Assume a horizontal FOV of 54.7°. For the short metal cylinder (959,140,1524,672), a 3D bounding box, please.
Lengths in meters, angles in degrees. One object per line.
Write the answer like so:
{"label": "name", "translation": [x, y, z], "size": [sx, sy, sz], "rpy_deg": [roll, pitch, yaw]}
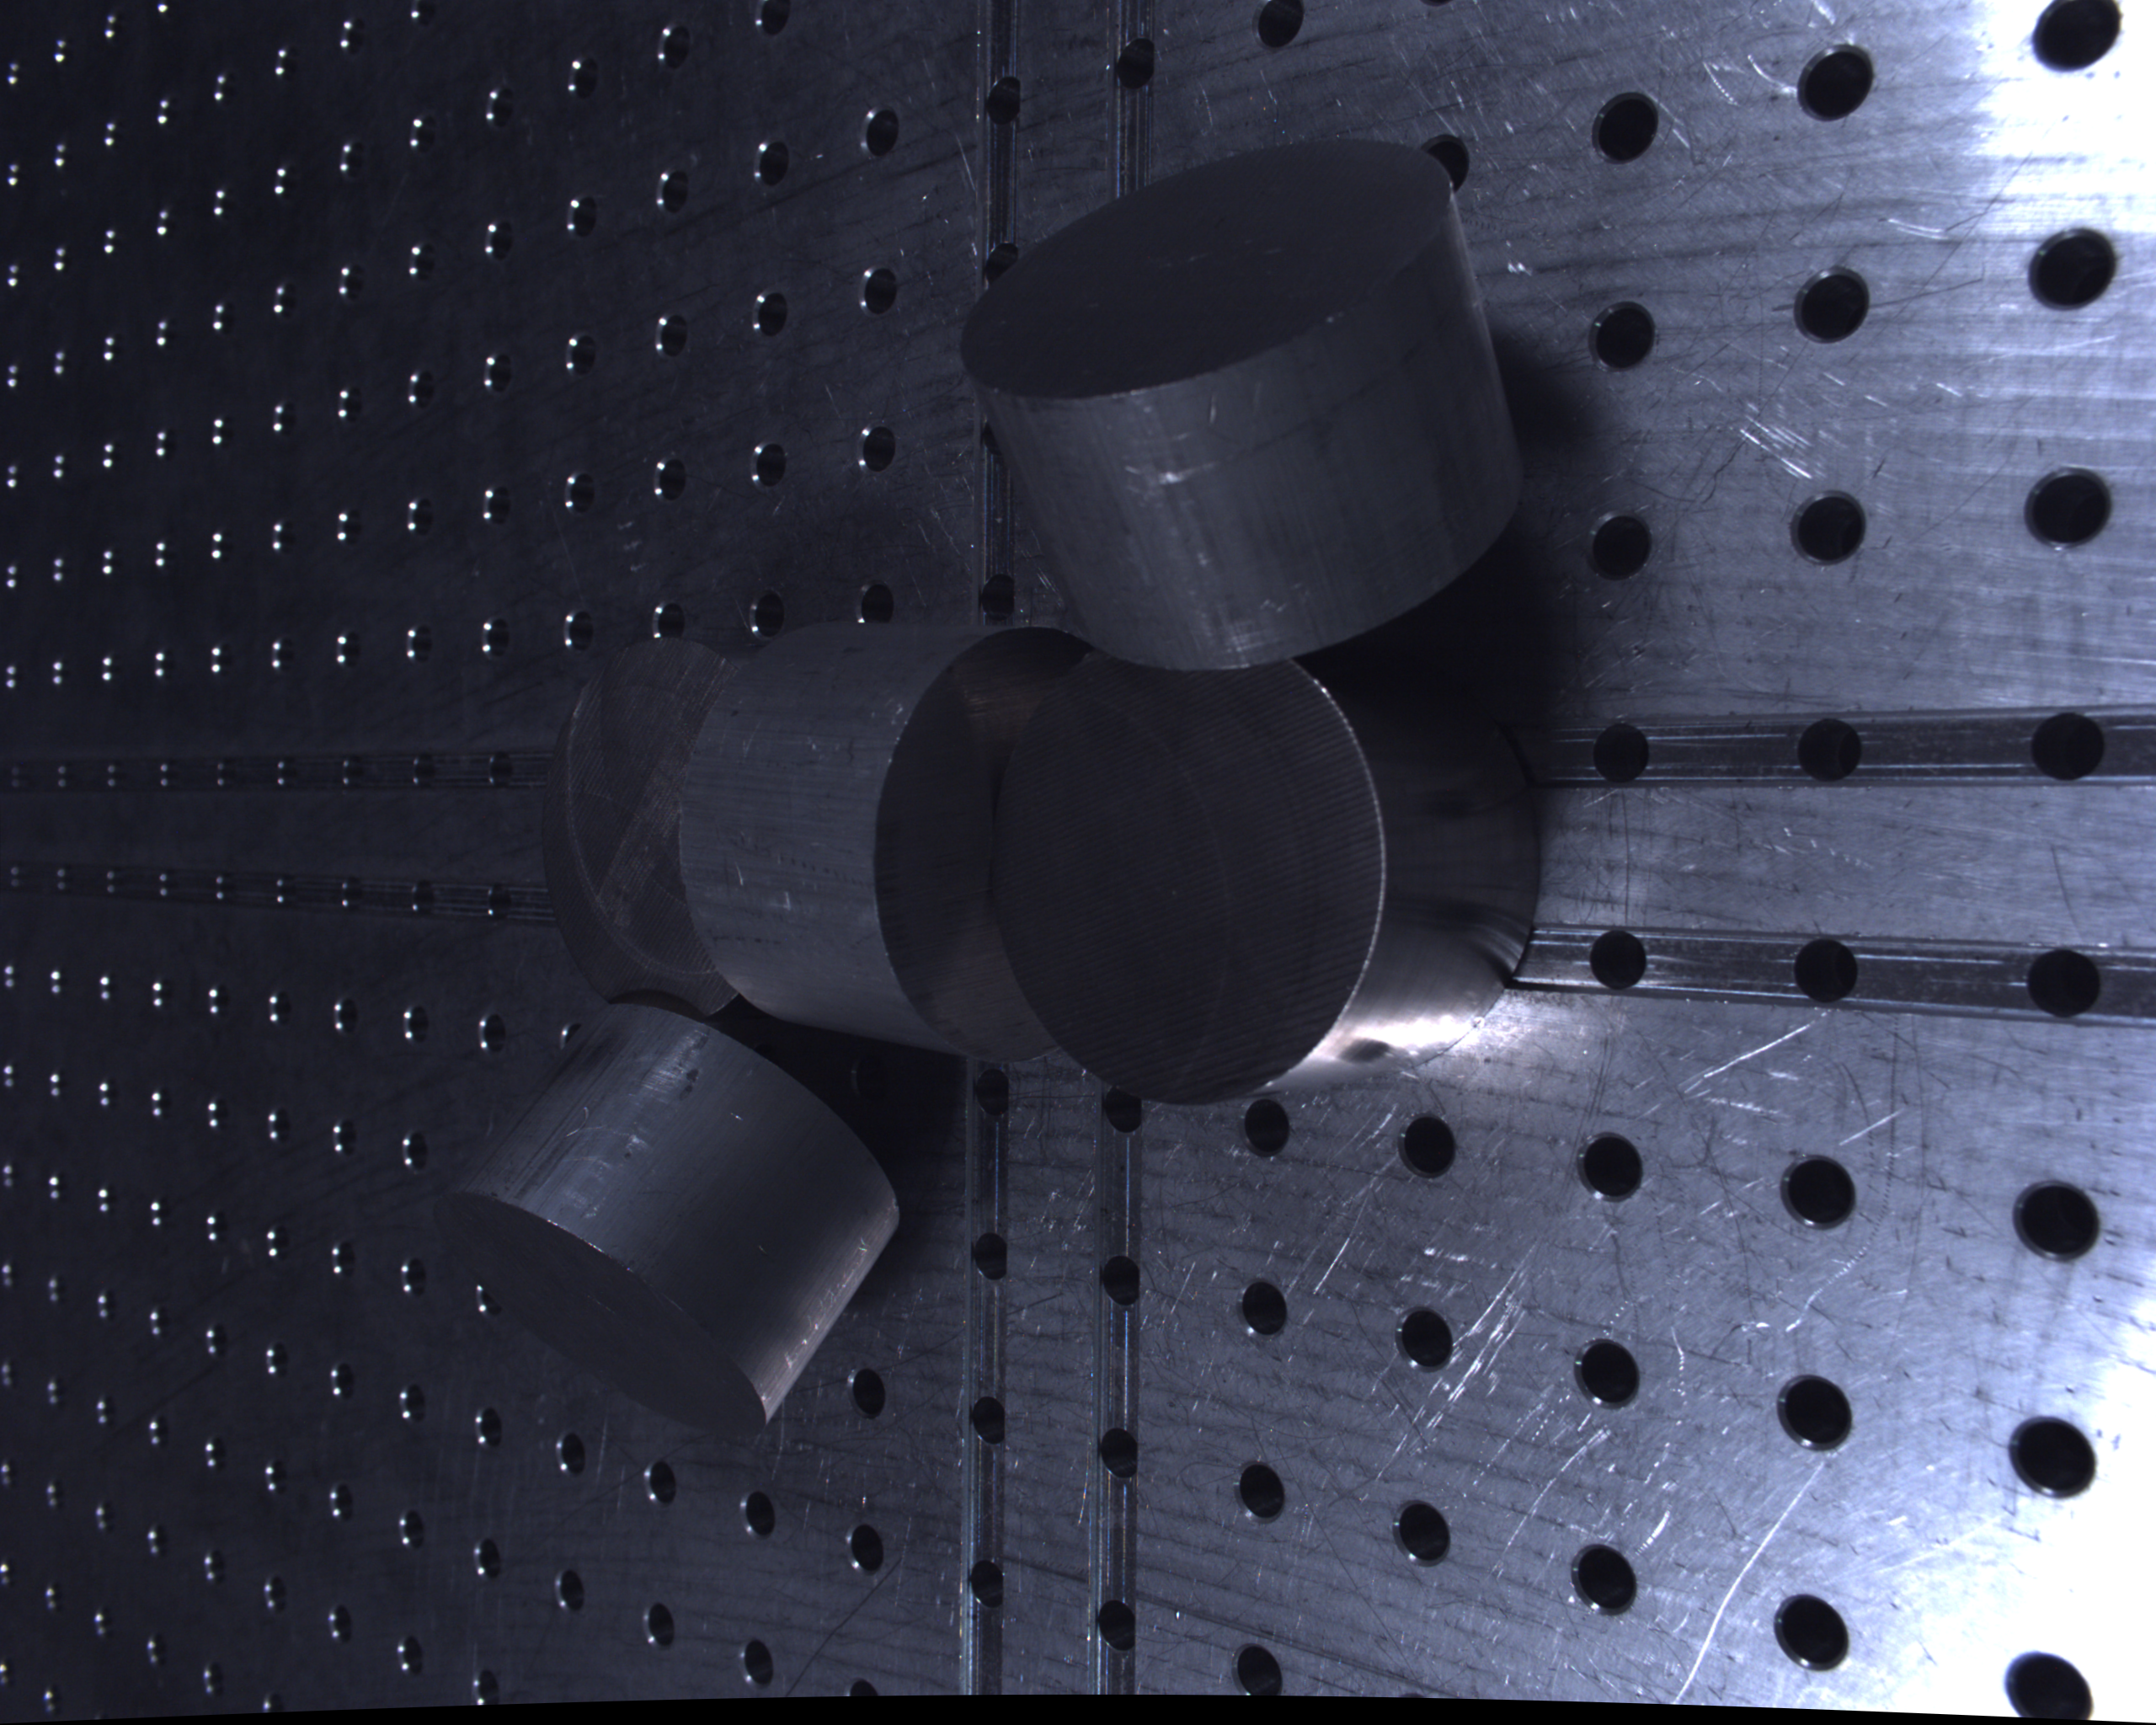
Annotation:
{"label": "short metal cylinder", "translation": [0.027, -0.075, 0.341], "size": [0.080, 0.080, 0.050], "rpy_deg": [11, 139, 39]}

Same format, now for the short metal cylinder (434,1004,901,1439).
{"label": "short metal cylinder", "translation": [-0.084, 0.075, 0.433], "size": [0.080, 0.050, 0.080], "rpy_deg": [23, 146, 17]}

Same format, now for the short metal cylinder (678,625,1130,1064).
{"label": "short metal cylinder", "translation": [-0.028, -0.005, 0.394], "size": [0.050, 0.081, 0.079], "rpy_deg": [6, 94, 39]}

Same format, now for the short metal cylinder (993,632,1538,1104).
{"label": "short metal cylinder", "translation": [0.032, 0.000, 0.364], "size": [0.080, 0.050, 0.079], "rpy_deg": [0, 90, 39]}

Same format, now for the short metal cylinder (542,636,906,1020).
{"label": "short metal cylinder", "translation": [-0.069, -0.007, 0.447], "size": [0.080, 0.050, 0.079], "rpy_deg": [0, 90, 39]}
